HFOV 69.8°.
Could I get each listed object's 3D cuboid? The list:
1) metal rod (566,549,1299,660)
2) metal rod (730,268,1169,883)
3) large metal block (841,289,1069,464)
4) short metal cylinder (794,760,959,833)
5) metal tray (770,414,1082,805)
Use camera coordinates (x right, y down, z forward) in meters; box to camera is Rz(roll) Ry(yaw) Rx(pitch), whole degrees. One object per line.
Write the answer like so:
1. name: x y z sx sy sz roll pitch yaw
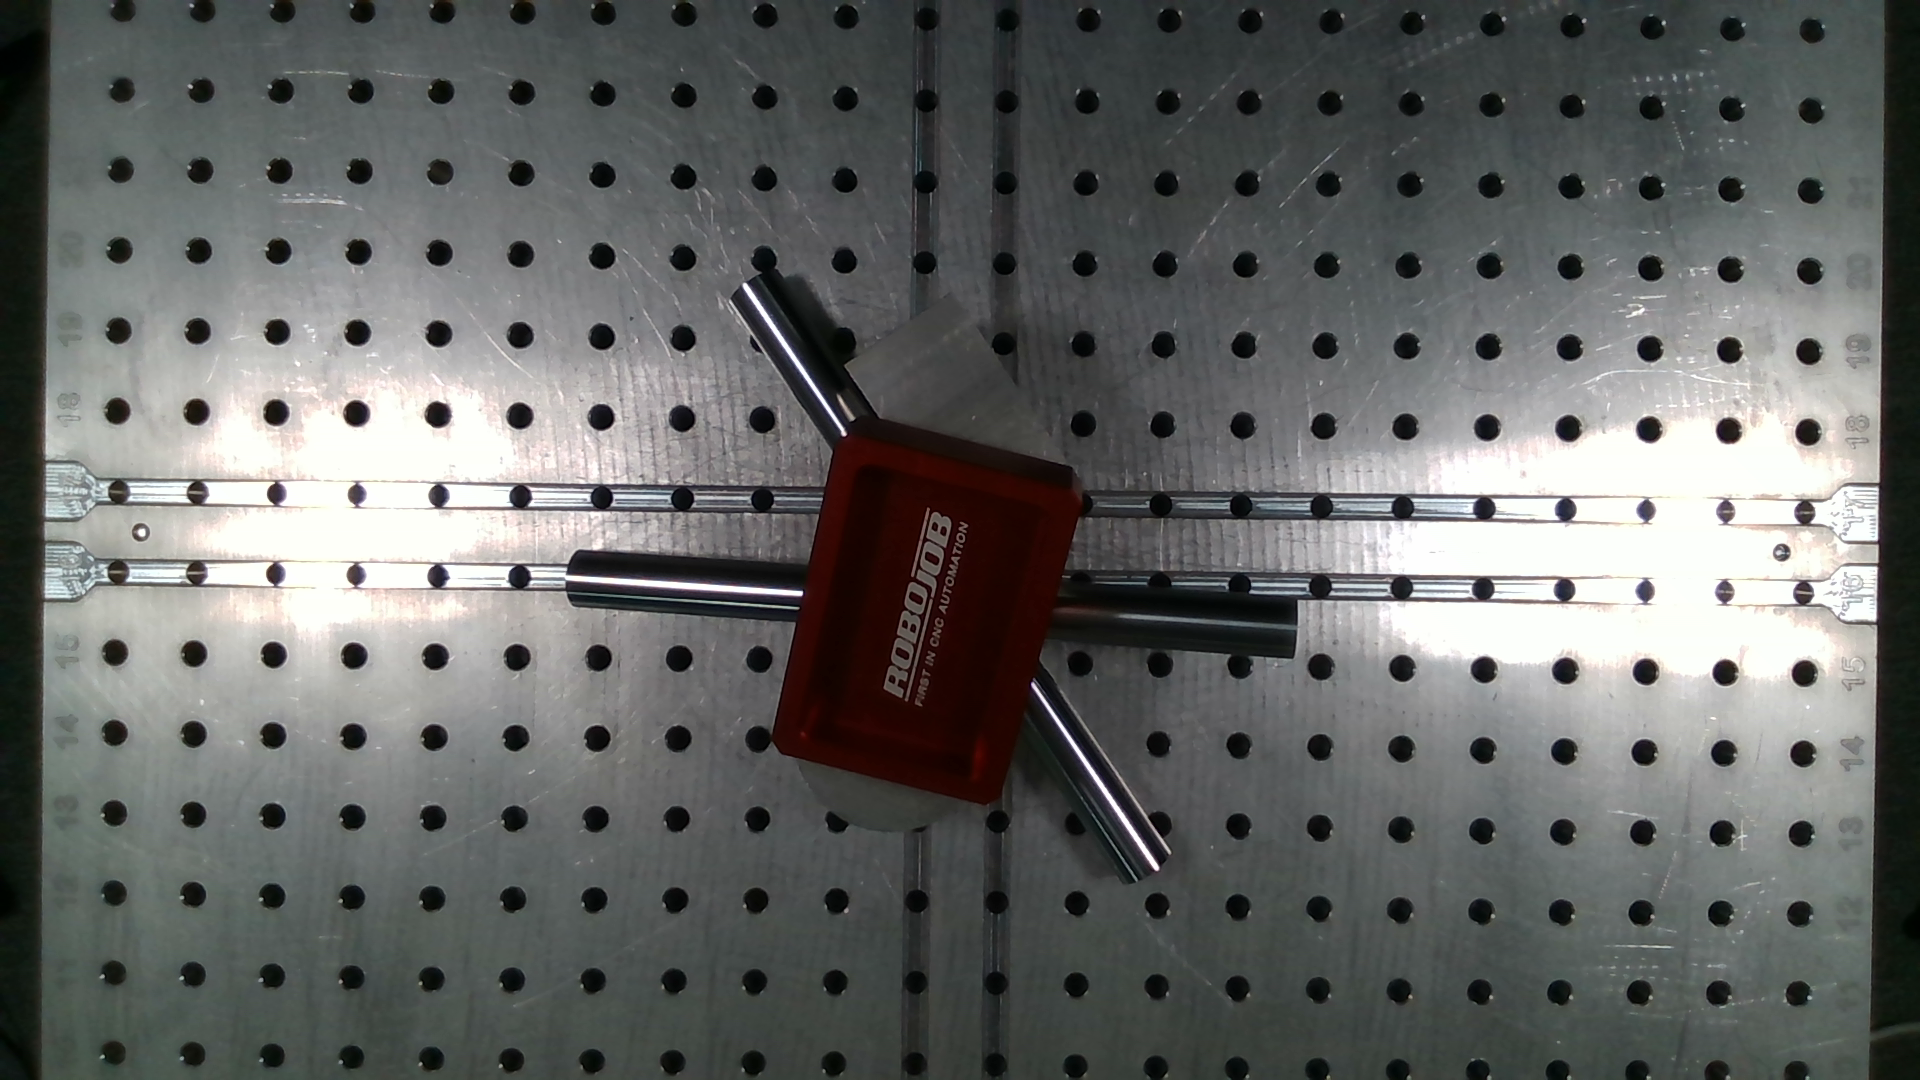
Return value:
1. metal rod: -0.015 0.025 0.567 0.300 0.025 0.025 4 90 9
2. metal rod: -0.004 0.015 0.590 0.025 0.025 0.300 -34 90 0
3. large metal block: -0.002 -0.048 0.561 0.050 0.080 0.080 -34 90 0
4. short metal cylinder: -0.028 0.077 0.576 0.080 0.050 0.080 0 90 0
5. metal tray: -0.014 0.027 0.516 0.090 0.030 0.130 14 109 0
